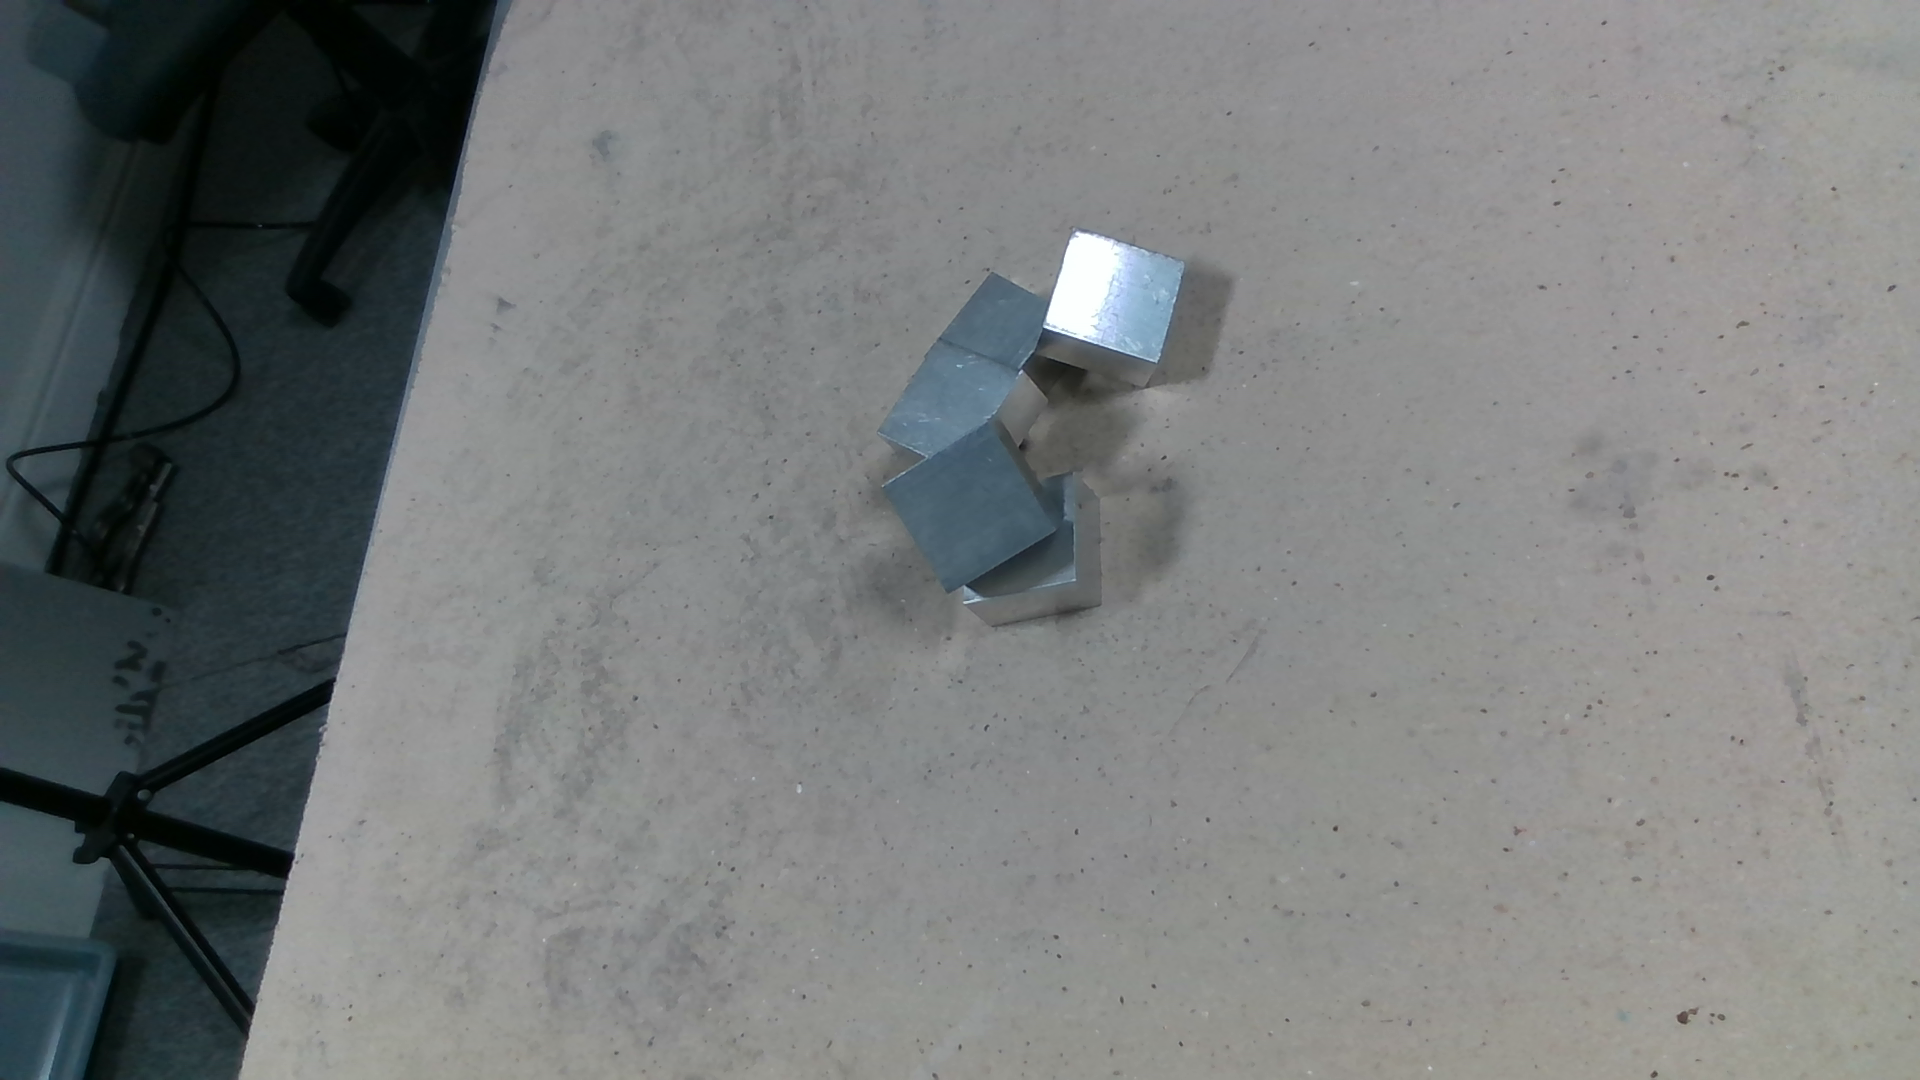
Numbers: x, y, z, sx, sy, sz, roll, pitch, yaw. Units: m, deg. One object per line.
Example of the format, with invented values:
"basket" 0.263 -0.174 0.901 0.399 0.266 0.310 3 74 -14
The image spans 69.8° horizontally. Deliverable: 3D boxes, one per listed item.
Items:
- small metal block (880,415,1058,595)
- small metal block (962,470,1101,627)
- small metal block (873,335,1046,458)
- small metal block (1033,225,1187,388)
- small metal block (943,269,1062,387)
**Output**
"small metal block" 0.005 -0.014 0.542 0.050 0.025 0.050 -31 93 14
"small metal block" 0.029 0.004 0.566 0.050 0.025 0.050 -13 60 26
"small metal block" 0.000 -0.053 0.580 0.050 0.025 0.050 27 82 38
"small metal block" 0.063 -0.099 0.584 0.050 0.025 0.050 18 72 -1
"small metal block" 0.019 -0.087 0.619 0.050 0.025 0.050 -52 51 -2
